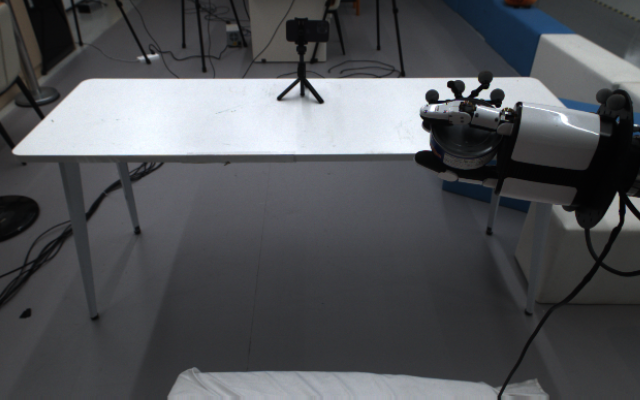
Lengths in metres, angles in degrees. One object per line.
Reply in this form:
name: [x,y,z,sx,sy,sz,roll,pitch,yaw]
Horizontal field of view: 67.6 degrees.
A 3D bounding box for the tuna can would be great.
tuna can: [0.178,-0.082,0.592,0.085,0.034,0.085,-4,61,7]
